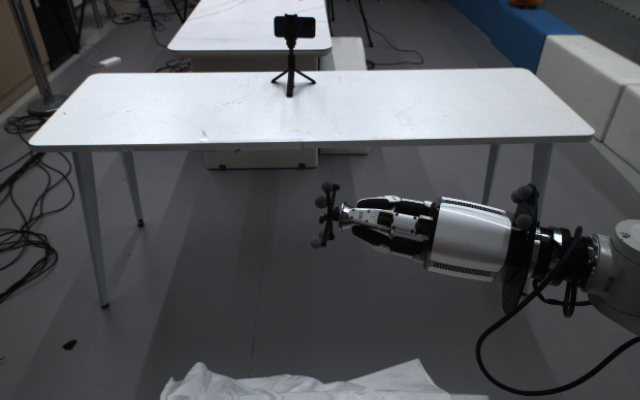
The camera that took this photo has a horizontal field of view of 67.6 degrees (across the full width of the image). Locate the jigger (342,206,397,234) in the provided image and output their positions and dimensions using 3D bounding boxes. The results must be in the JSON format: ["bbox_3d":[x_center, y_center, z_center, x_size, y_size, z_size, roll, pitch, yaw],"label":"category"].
[{"bbox_3d":[0.068,0.022,0.630,0.071,0.043,0.043,7,35,14],"label":"jigger"}]
